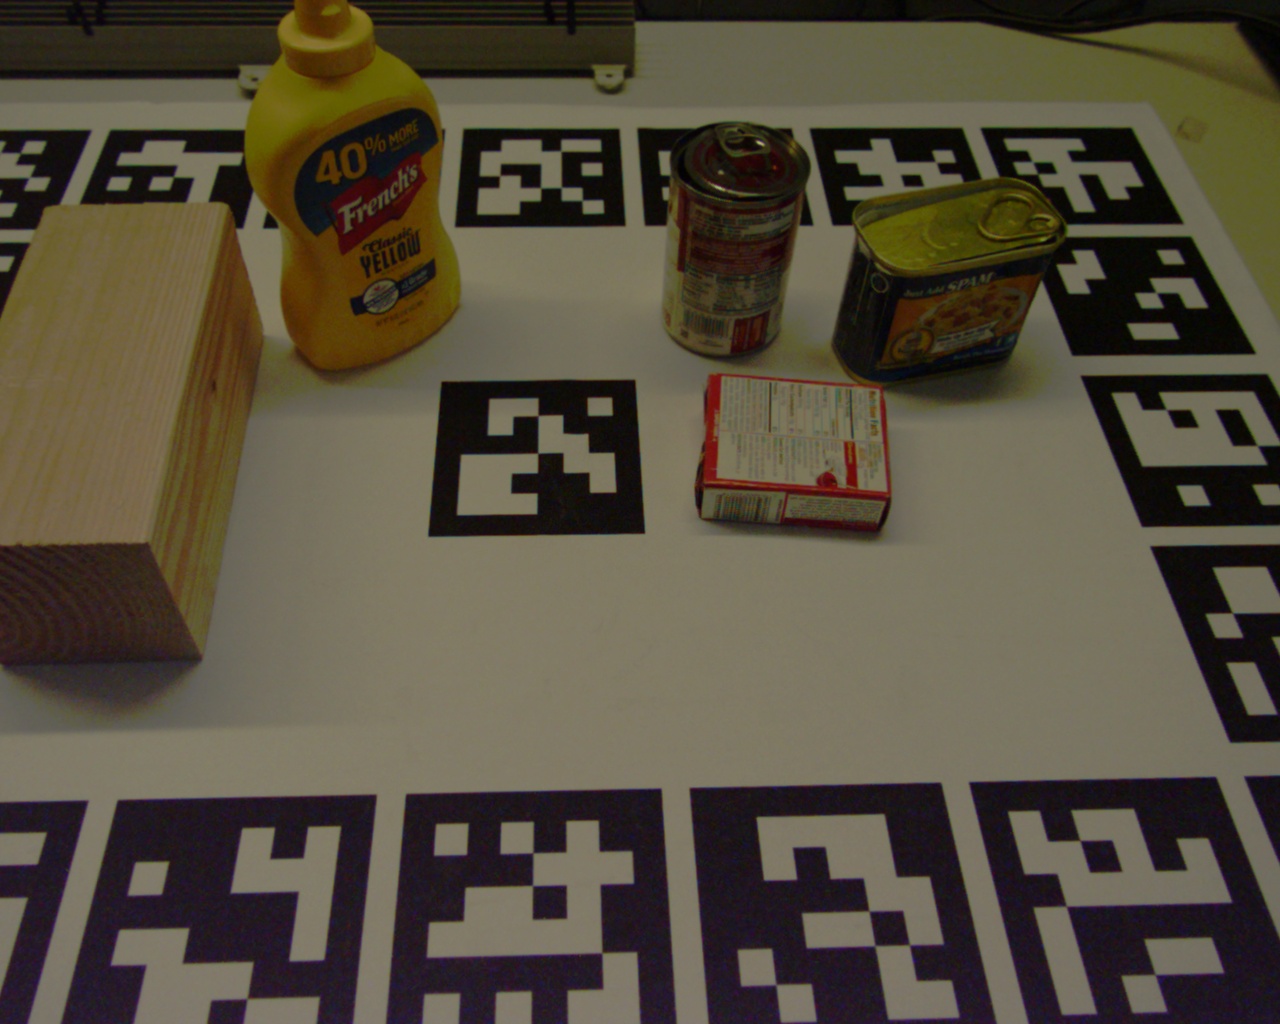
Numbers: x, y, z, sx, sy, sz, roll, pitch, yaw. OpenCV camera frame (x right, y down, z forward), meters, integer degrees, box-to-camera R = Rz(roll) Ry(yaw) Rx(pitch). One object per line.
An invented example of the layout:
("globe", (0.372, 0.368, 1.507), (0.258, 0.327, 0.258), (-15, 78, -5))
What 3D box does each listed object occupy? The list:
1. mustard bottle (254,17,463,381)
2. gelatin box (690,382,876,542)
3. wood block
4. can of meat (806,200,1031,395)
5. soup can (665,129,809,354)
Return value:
("mustard bottle", (-0.143, -0.156, 0.578), (0.095, 0.191, 0.059), (-21, 56, -20))
("gelatin box", (0.073, -0.026, 0.576), (0.089, 0.030, 0.073), (6, 54, 6))
("wood block", (-0.238, -0.044, 0.546), (0.091, 0.089, 0.207), (1, 48, -4))
("can of meat", (0.147, -0.115, 0.620), (0.101, 0.083, 0.058), (-10, 54, -14))
("soup can", (0.049, -0.143, 0.615), (0.068, 0.102, 0.068), (1, 54, -2))
